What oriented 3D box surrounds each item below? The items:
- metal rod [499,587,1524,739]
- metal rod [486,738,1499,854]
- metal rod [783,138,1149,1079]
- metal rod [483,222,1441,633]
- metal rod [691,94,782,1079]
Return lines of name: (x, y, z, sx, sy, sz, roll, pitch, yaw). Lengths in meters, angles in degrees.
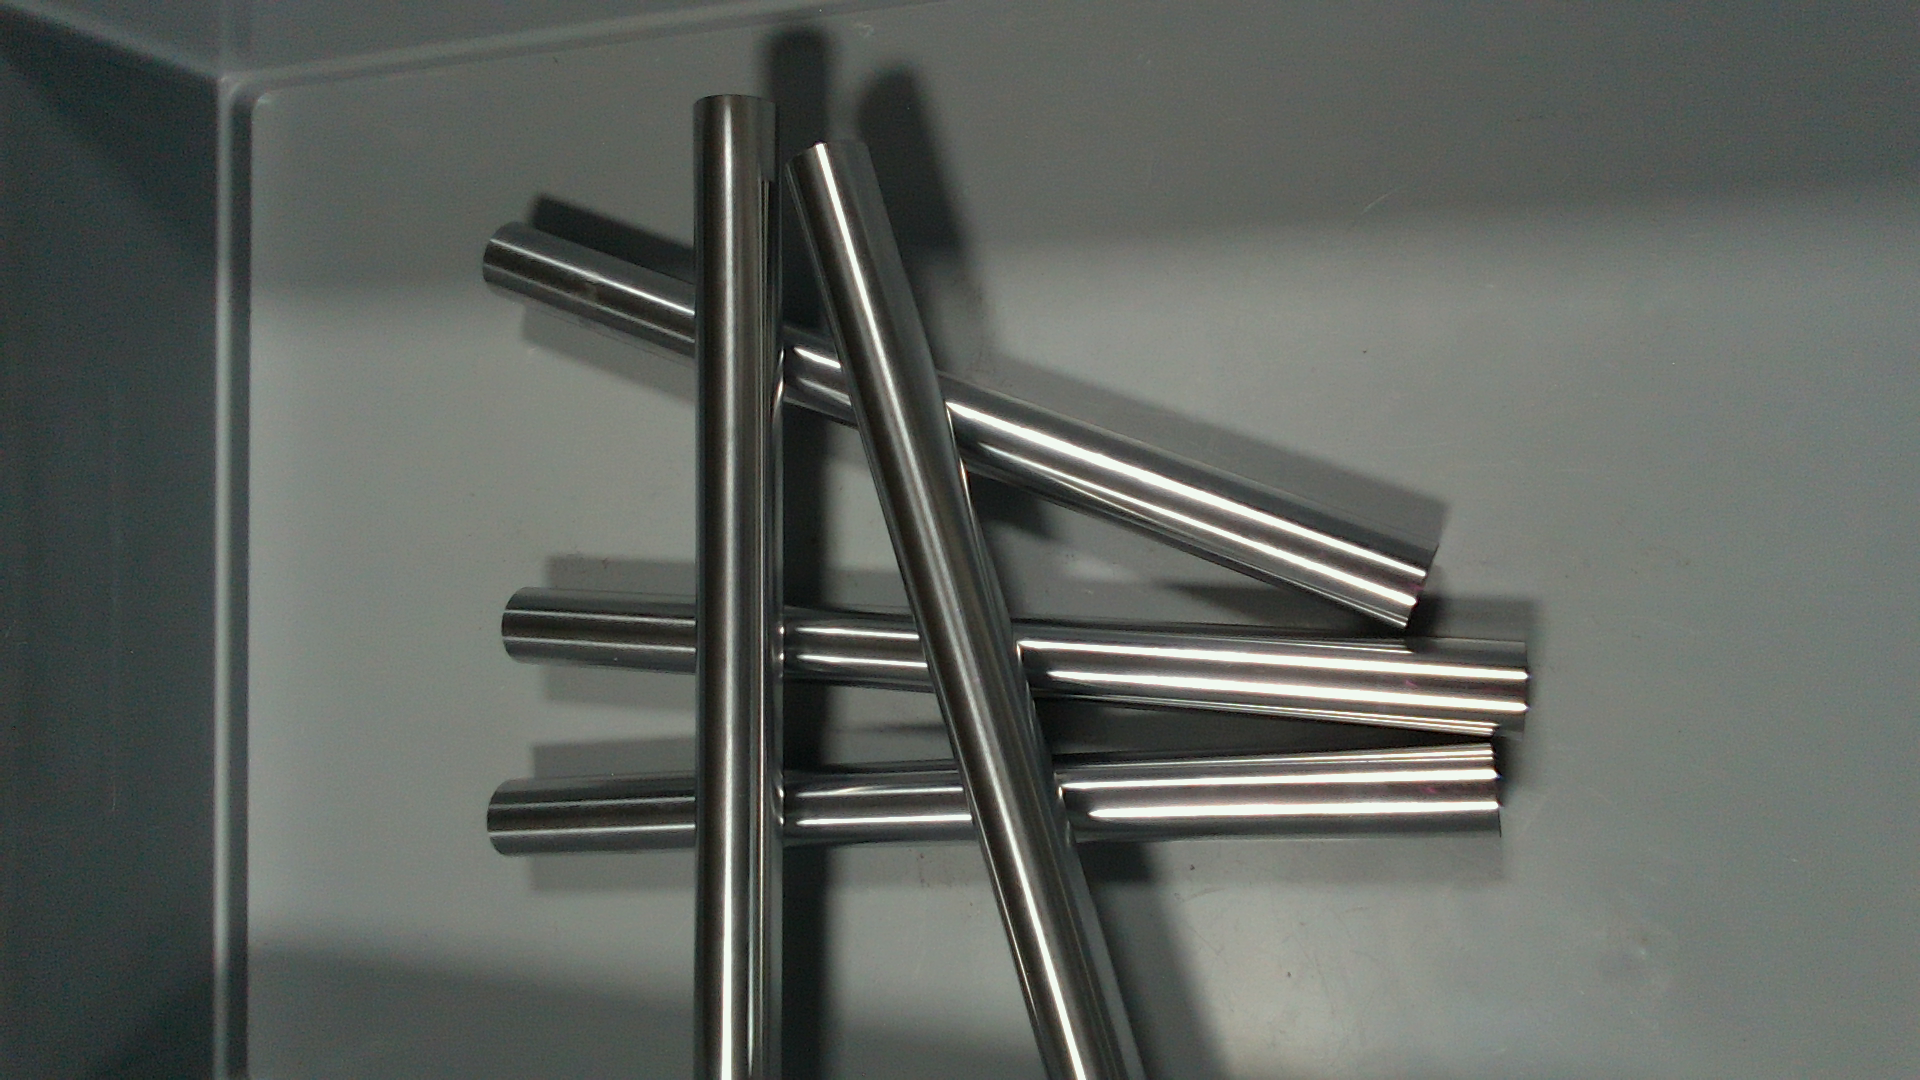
metal rod: (0.000, 0.032, 0.394, 0.299, 0.025, 0.025, 2, 91, 20)
metal rod: (-0.006, 0.076, 0.397, 0.299, 0.025, 0.025, -6, 88, 20)
metal rod: (0.006, 0.038, 0.366, 0.025, 0.025, 0.300, -19, 84, 19)
metal rod: (-0.014, -0.039, 0.399, 0.299, 0.025, 0.025, 21, 97, 19)
metal rod: (-0.063, 0.028, 0.390, 0.025, 0.025, 0.300, 0, 90, 20)
